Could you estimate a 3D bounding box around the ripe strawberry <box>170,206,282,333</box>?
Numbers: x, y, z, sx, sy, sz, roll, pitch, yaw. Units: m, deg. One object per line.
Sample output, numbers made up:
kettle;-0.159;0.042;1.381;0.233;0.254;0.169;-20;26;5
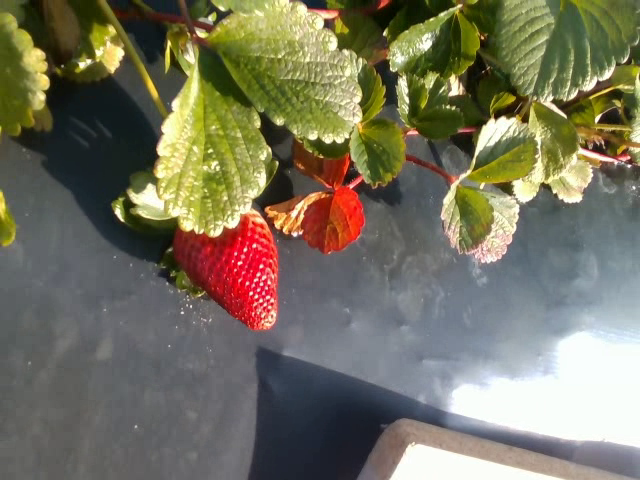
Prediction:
ripe strawberry;-0.032;0.012;0.221;0.041;0.056;0.040;-28;-19;-3
